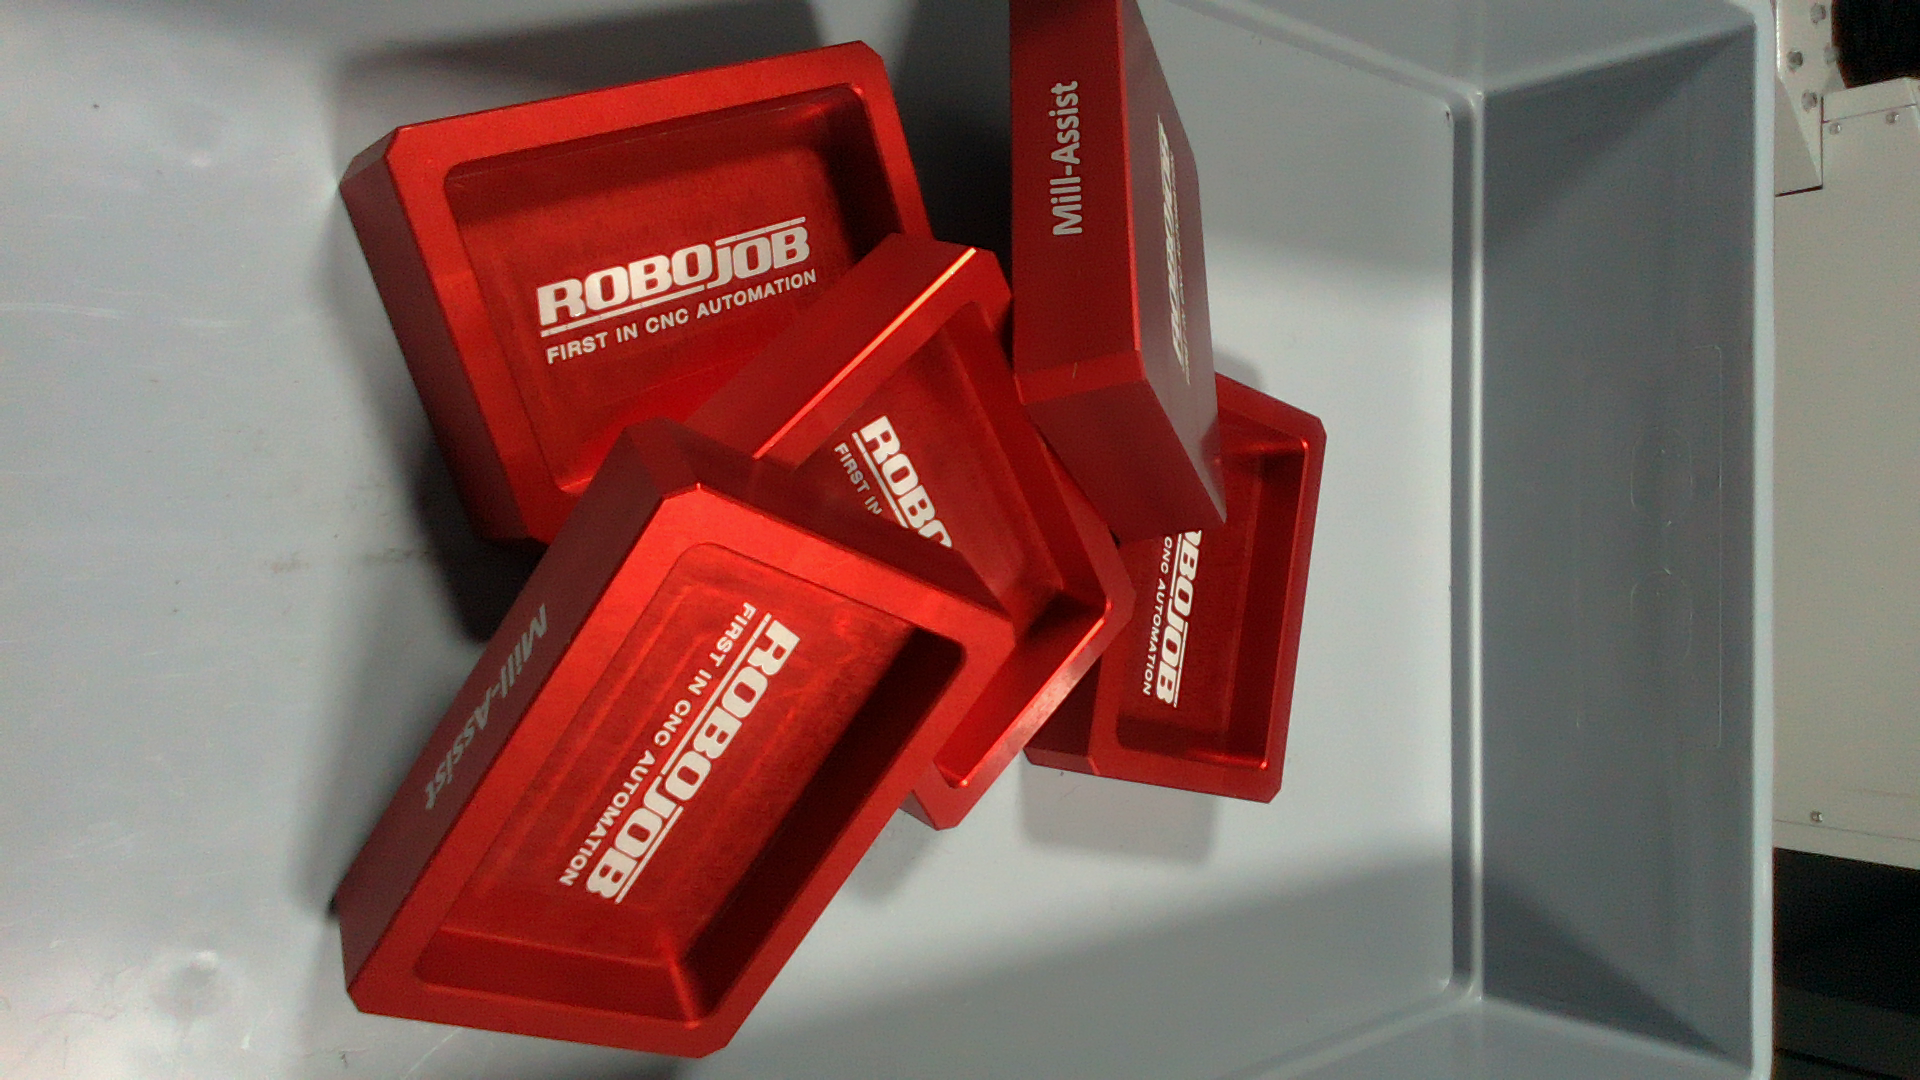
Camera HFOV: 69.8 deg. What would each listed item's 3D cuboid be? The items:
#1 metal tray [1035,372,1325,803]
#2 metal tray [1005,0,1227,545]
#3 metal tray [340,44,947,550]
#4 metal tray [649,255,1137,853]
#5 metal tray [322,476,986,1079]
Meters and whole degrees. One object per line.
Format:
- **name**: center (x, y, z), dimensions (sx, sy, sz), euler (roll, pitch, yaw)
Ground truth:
- **metal tray**: center (0.072, 0.014, 0.444), dimensions (0.090, 0.030, 0.130), euler (16, 80, -39)
- **metal tray**: center (0.043, -0.075, 0.375), dimensions (0.090, 0.030, 0.130), euler (44, 41, -56)
- **metal tray**: center (-0.065, -0.061, 0.330), dimensions (0.130, 0.030, 0.090), euler (-26, 106, -37)
- **metal tray**: center (-0.010, 0.007, 0.348), dimensions (0.090, 0.030, 0.130), euler (-47, 133, -22)
- **metal tray**: center (-0.064, 0.060, 0.293), dimensions (0.090, 0.030, 0.130), euler (22, 105, -37)
